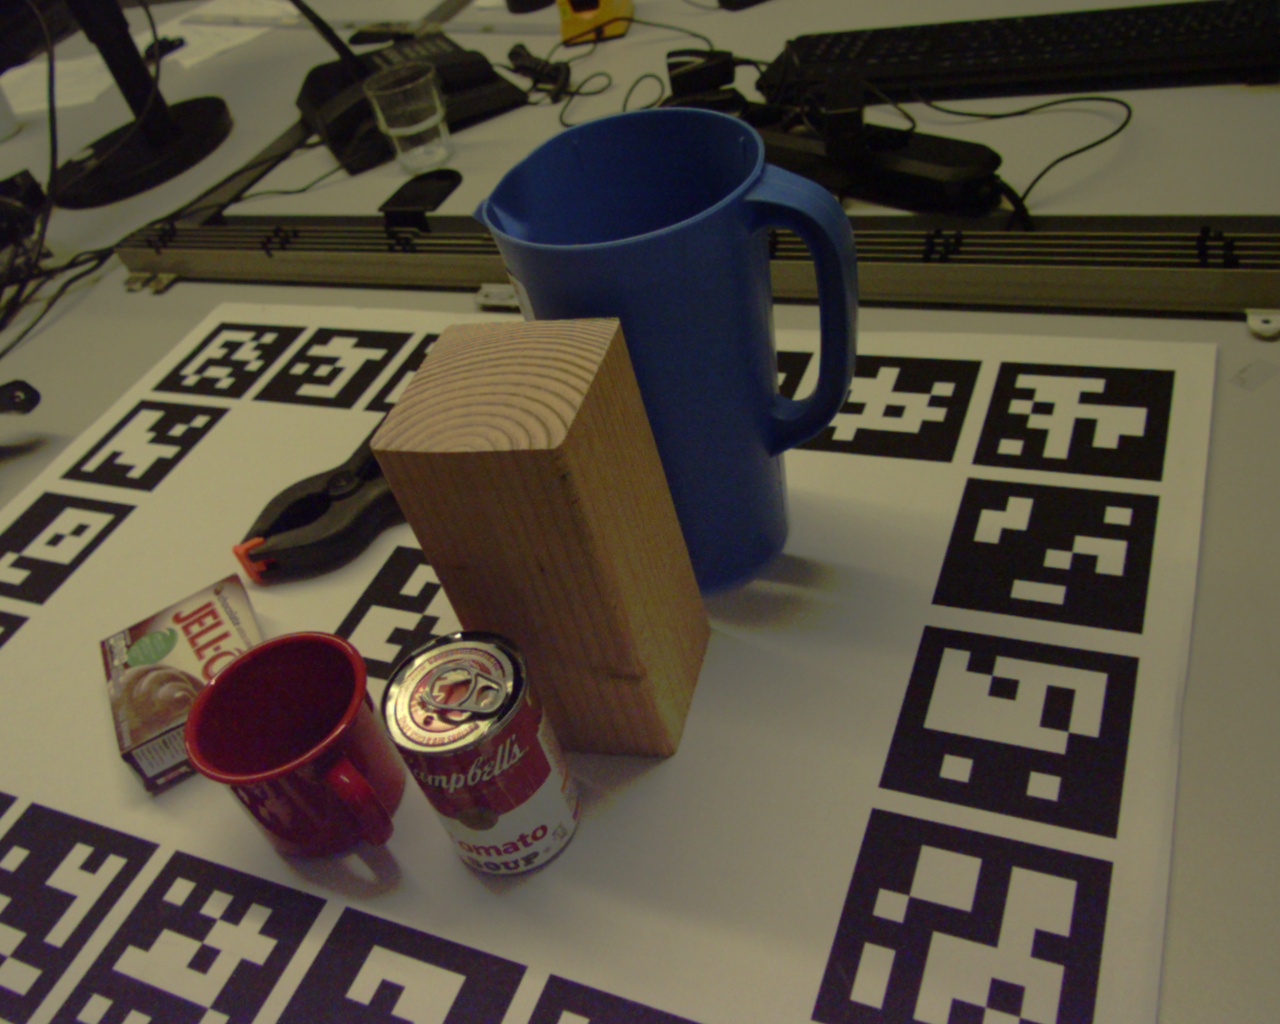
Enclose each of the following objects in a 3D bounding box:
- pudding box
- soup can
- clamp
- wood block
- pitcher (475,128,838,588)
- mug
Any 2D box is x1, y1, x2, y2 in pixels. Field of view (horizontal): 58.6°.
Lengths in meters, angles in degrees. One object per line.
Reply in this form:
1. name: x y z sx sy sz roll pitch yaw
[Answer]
1. pudding box: -0.273 0.095 0.705 0.089 0.038 0.115 -32 42 -11
2. soup can: -0.080 0.112 0.561 0.068 0.101 0.068 -11 43 9
3. clamp: -0.193 -0.009 0.800 0.164 0.036 0.123 -36 51 -19
4. wood block: -0.042 0.015 0.576 0.091 0.205 0.091 7 46 21
5. pitcher: 0.022 -0.077 0.631 0.191 0.240 0.133 4 43 27
6. mug: -0.168 0.124 0.597 0.093 0.081 0.119 -29 41 -16
